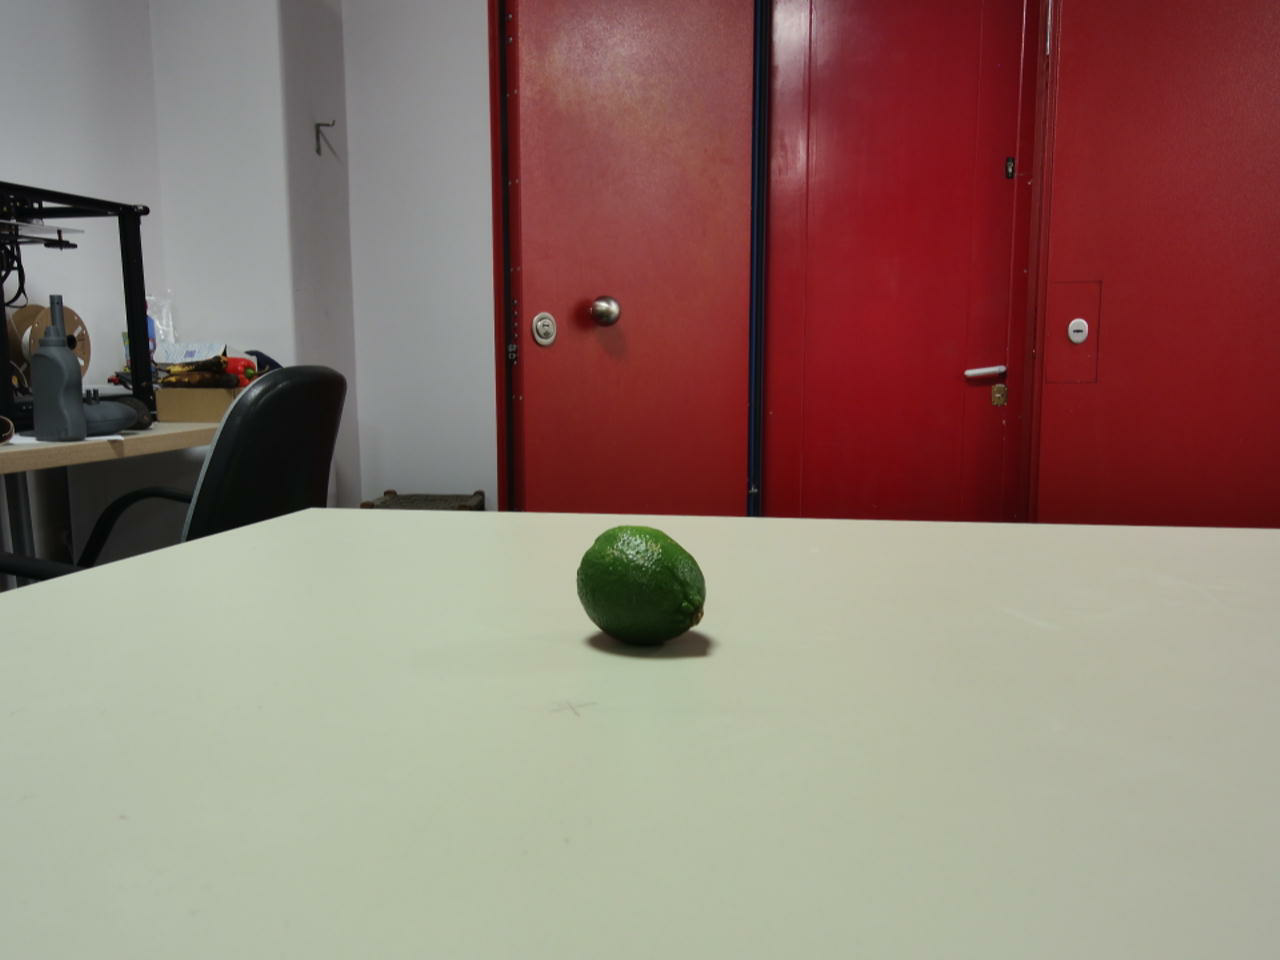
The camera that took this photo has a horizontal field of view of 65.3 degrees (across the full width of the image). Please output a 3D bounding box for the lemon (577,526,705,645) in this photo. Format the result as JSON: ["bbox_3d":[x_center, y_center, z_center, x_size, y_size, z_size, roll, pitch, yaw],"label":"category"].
[{"bbox_3d":[0.001,0.046,0.442,0.057,0.051,0.054,1,4,8],"label":"lemon"}]
